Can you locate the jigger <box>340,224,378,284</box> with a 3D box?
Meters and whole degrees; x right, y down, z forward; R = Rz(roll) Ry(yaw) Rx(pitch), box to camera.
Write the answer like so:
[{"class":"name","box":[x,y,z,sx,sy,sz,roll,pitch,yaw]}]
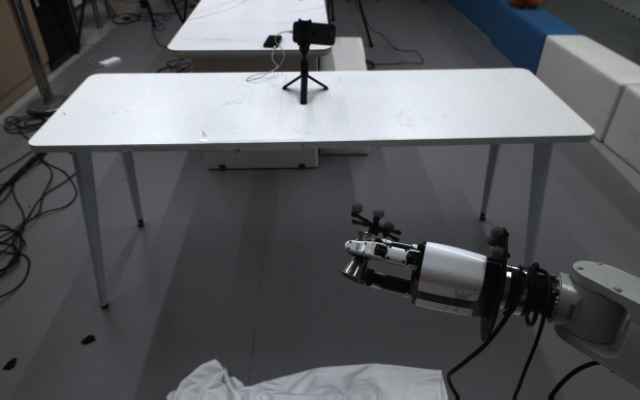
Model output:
[{"class":"jigger","box":[0.060,0.080,0.707,0.043,0.043,0.071,21,73,25]}]
